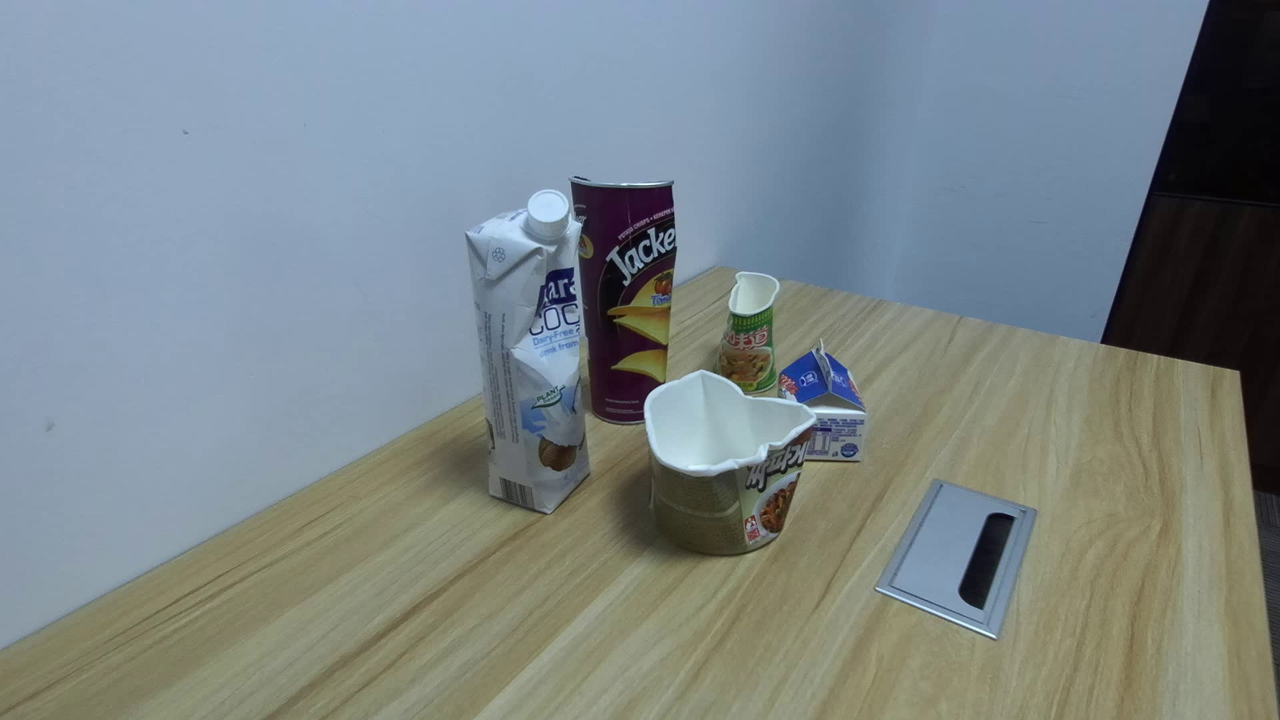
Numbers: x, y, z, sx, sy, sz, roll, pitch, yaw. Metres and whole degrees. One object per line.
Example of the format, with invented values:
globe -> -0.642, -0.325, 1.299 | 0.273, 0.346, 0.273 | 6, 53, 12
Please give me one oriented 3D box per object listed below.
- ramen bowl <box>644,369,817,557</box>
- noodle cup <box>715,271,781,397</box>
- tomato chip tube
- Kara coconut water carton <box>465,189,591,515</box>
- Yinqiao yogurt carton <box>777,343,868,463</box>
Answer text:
ramen bowl -> 0.056, 0.083, 0.547 | 0.113, 0.097, 0.134 | 19, 30, 32
noodle cup -> 0.113, -0.026, 0.751 | 0.070, 0.111, 0.115 | 15, 30, 29
tomato chip tube -> -0.013, -0.057, 0.682 | 0.076, 0.235, 0.077 | -17, 30, -30
Kara coconut water carton -> -0.085, -0.005, 0.557 | 0.078, 0.255, 0.083 | 20, 32, 34
Yinqiao yogurt carton -> 0.167, 0.035, 0.651 | 0.074, 0.092, 0.075 | 1, 27, 4
